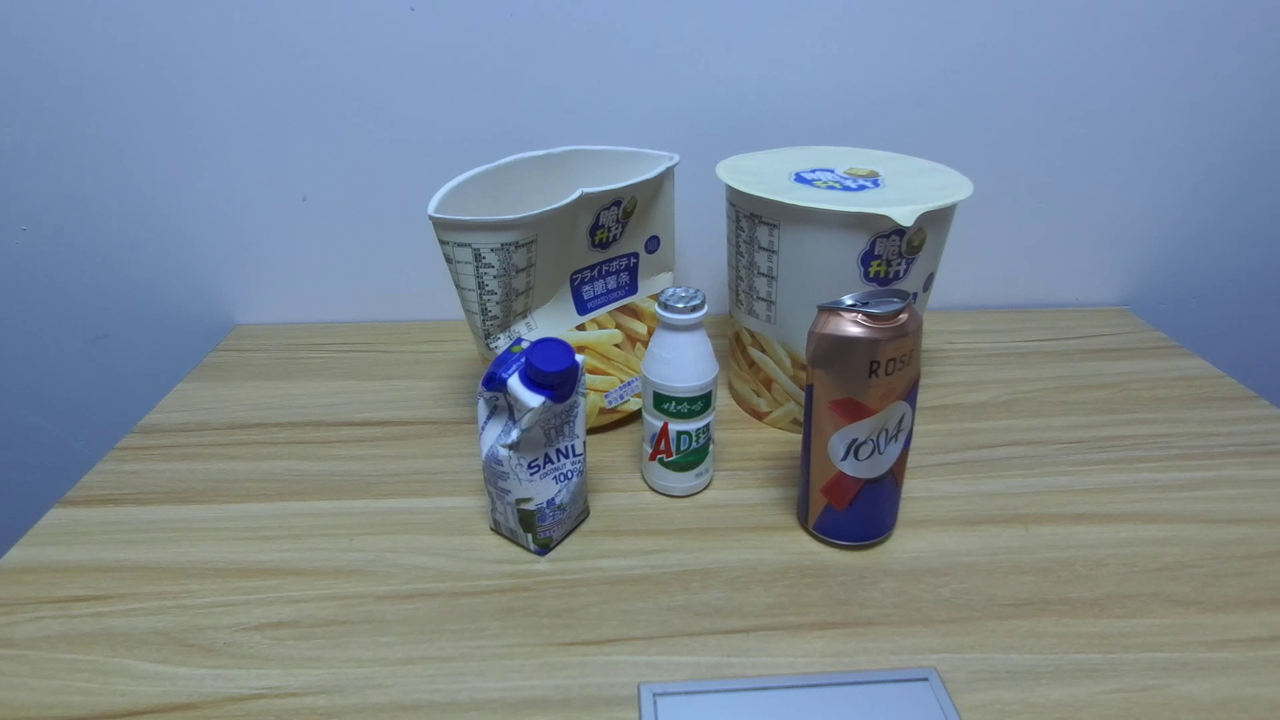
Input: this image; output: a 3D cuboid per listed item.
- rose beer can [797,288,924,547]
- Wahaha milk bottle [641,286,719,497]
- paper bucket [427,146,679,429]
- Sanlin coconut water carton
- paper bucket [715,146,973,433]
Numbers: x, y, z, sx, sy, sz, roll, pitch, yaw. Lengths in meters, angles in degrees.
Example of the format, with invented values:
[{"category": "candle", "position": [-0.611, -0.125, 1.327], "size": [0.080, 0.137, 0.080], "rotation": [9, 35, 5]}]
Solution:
[{"category": "rose beer can", "position": [0.138, 0.038, 0.443], "size": [0.070, 0.168, 0.069], "rotation": [3, 27, 13]}, {"category": "Wahaha milk bottle", "position": [0.027, 0.023, 0.484], "size": [0.053, 0.147, 0.053], "rotation": [0, 30, 0]}, {"category": "paper bucket", "position": [-0.052, -0.062, 0.580], "size": [0.147, 0.199, 0.218], "rotation": [7, 31, 11]}, {"category": "Sanlin coconut water carton", "position": [-0.069, 0.049, 0.445], "size": [0.069, 0.144, 0.061], "rotation": [20, 35, 30]}, {"category": "paper bucket", "position": [0.155, -0.059, 0.583], "size": [0.198, 0.195, 0.198], "rotation": [-1, 30, 1]}]
